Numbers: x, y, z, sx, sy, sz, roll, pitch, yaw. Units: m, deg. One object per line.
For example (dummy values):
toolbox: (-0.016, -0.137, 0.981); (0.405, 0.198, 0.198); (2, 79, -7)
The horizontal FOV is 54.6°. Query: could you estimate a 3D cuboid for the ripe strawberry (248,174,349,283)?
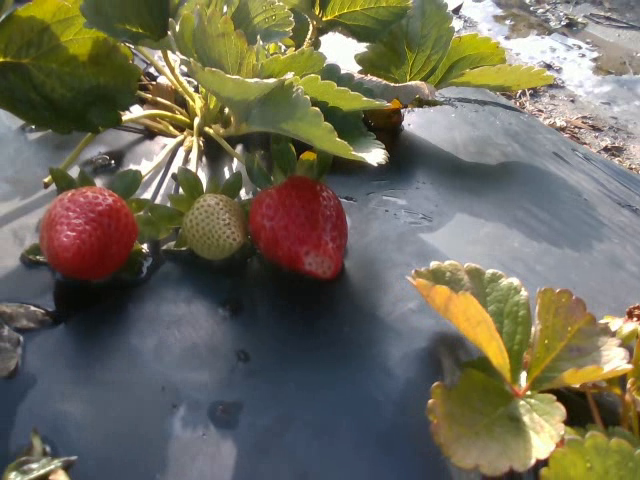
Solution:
ripe strawberry: (-0.007, -0.003, 0.273); (0.048, 0.065, 0.050); (-37, -40, 15)
